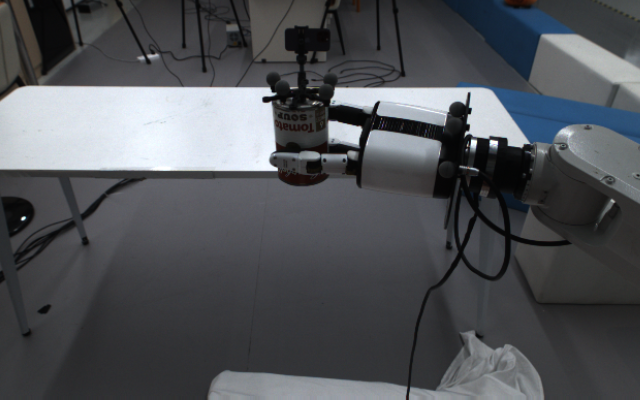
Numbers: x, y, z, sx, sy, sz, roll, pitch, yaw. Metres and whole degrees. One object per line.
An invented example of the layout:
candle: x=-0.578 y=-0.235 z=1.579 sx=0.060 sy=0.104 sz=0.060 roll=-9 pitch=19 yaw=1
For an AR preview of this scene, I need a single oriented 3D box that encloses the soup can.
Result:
soup can: x=-0.021 y=-0.078 z=0.595 sx=0.067 sy=0.101 sz=0.067 roll=-2 pitch=34 yaw=1
